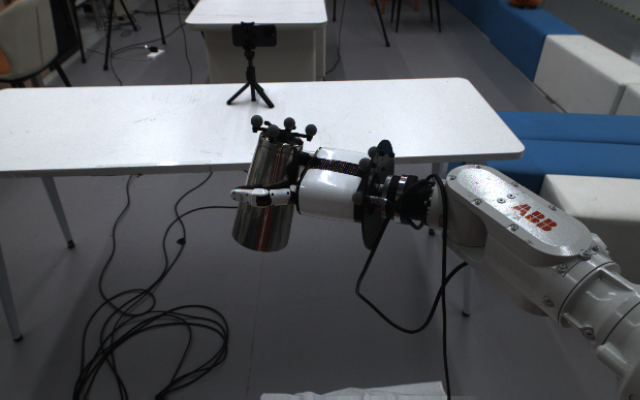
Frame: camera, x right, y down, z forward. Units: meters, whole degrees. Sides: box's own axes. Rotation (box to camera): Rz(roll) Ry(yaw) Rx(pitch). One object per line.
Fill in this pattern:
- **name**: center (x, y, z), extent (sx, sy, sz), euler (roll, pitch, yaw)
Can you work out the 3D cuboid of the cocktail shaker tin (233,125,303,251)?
- **cocktail shaker tin**: center (-0.075, -0.018, 0.743), extent (0.093, 0.170, 0.093), euler (12, 24, -5)
